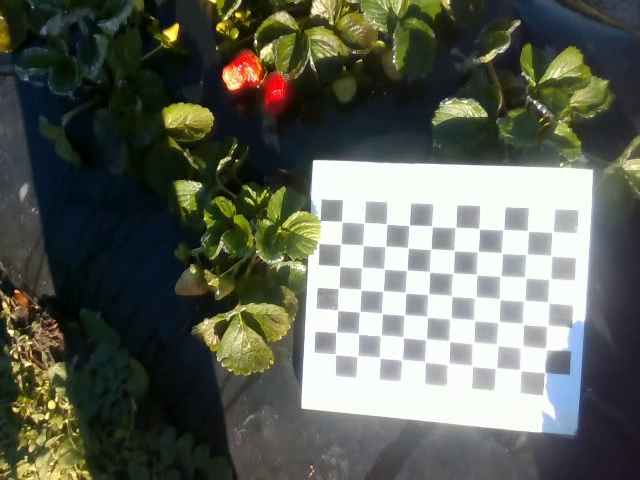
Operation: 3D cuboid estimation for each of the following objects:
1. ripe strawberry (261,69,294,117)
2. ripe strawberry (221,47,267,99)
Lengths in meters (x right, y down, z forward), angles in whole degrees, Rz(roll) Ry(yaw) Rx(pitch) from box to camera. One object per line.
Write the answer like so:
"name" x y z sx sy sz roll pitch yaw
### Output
"ripe strawberry" -0.060 -0.199 0.766 0.043 0.059 0.040 3 -4 9
"ripe strawberry" -0.105 -0.225 0.783 0.070 0.053 0.040 -41 2 0
